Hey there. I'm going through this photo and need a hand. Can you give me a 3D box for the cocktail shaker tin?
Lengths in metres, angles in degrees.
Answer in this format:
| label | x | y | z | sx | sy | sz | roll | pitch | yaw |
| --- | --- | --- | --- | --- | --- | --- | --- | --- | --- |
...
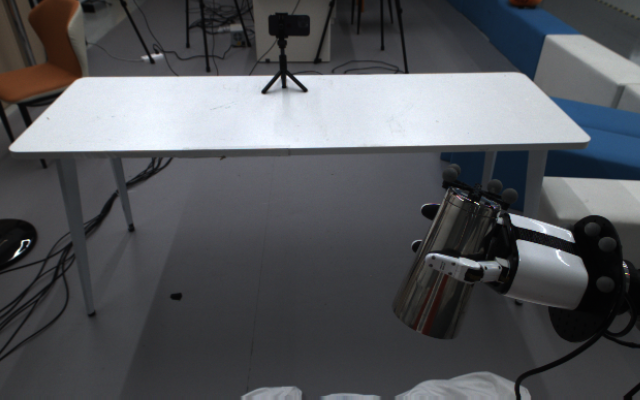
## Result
| label | x | y | z | sx | sy | sz | roll | pitch | yaw |
| --- | --- | --- | --- | --- | --- | --- | --- | --- | --- |
| cocktail shaker tin | 0.161 | 0.073 | 0.602 | 0.093 | 0.170 | 0.093 | 15 | 17 | -5 |
